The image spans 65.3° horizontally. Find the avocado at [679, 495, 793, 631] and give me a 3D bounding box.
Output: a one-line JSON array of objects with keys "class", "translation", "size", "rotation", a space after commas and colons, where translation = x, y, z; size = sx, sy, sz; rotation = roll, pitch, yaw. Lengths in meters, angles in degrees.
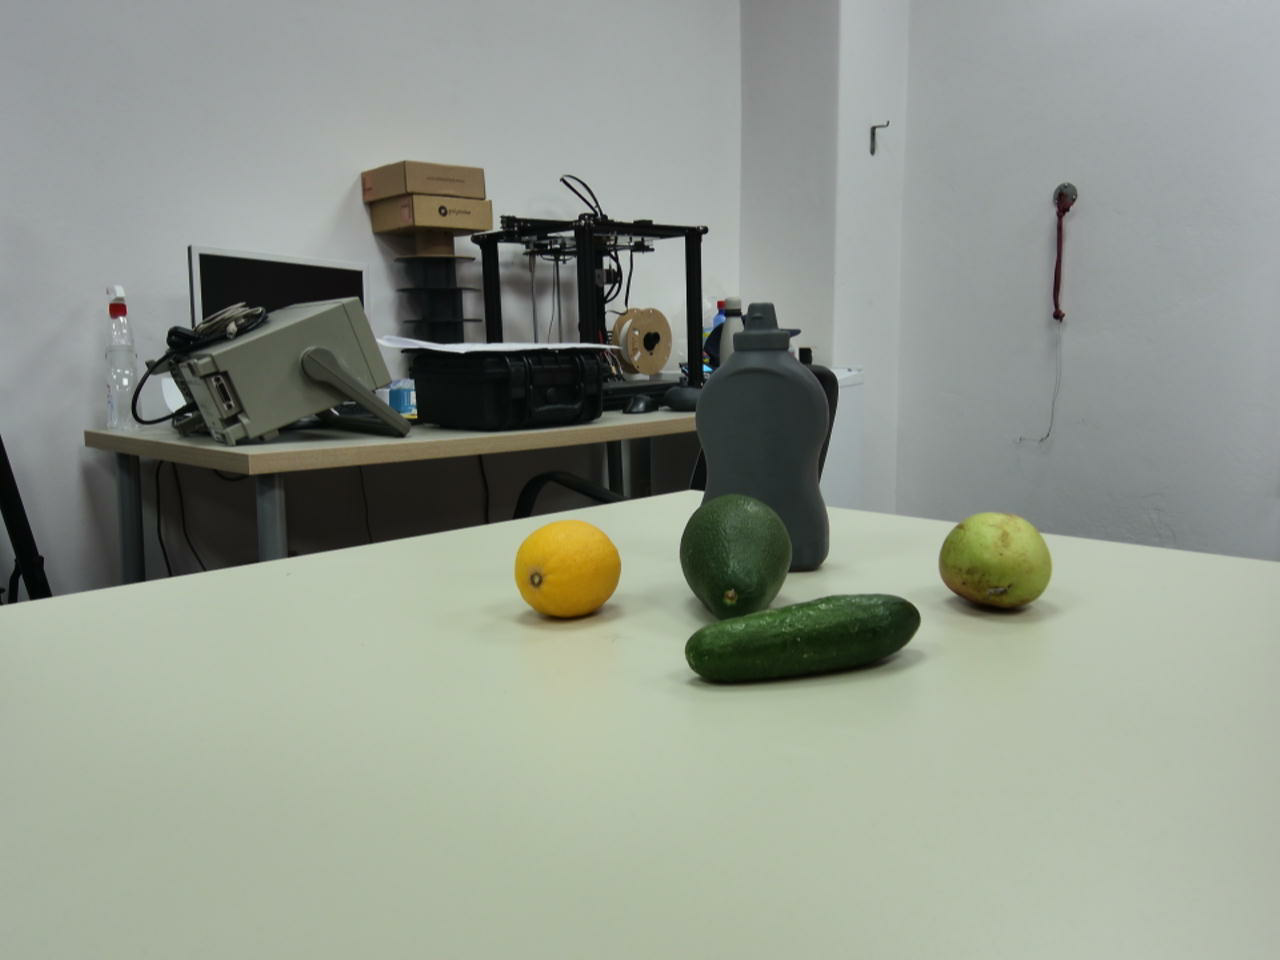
[{"class": "avocado", "translation": [0.055, 0.048, 0.620], "size": [0.073, 0.071, 0.109], "rotation": [2, 7, 24]}]
